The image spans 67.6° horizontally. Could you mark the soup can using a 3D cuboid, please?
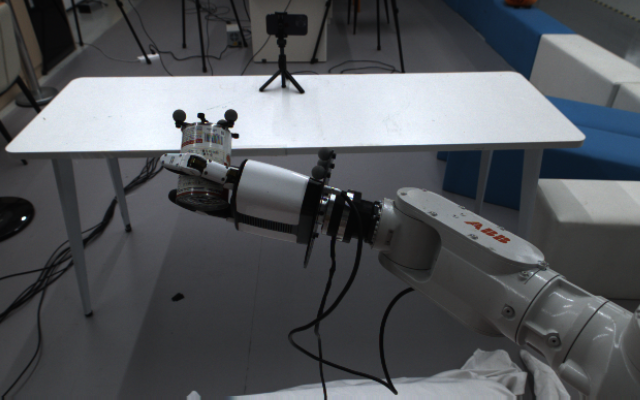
[{"bbox_3d":[-0.152,-0.042,0.639,0.067,0.067,0.101,1,73,-2],"label":"soup can"}]
